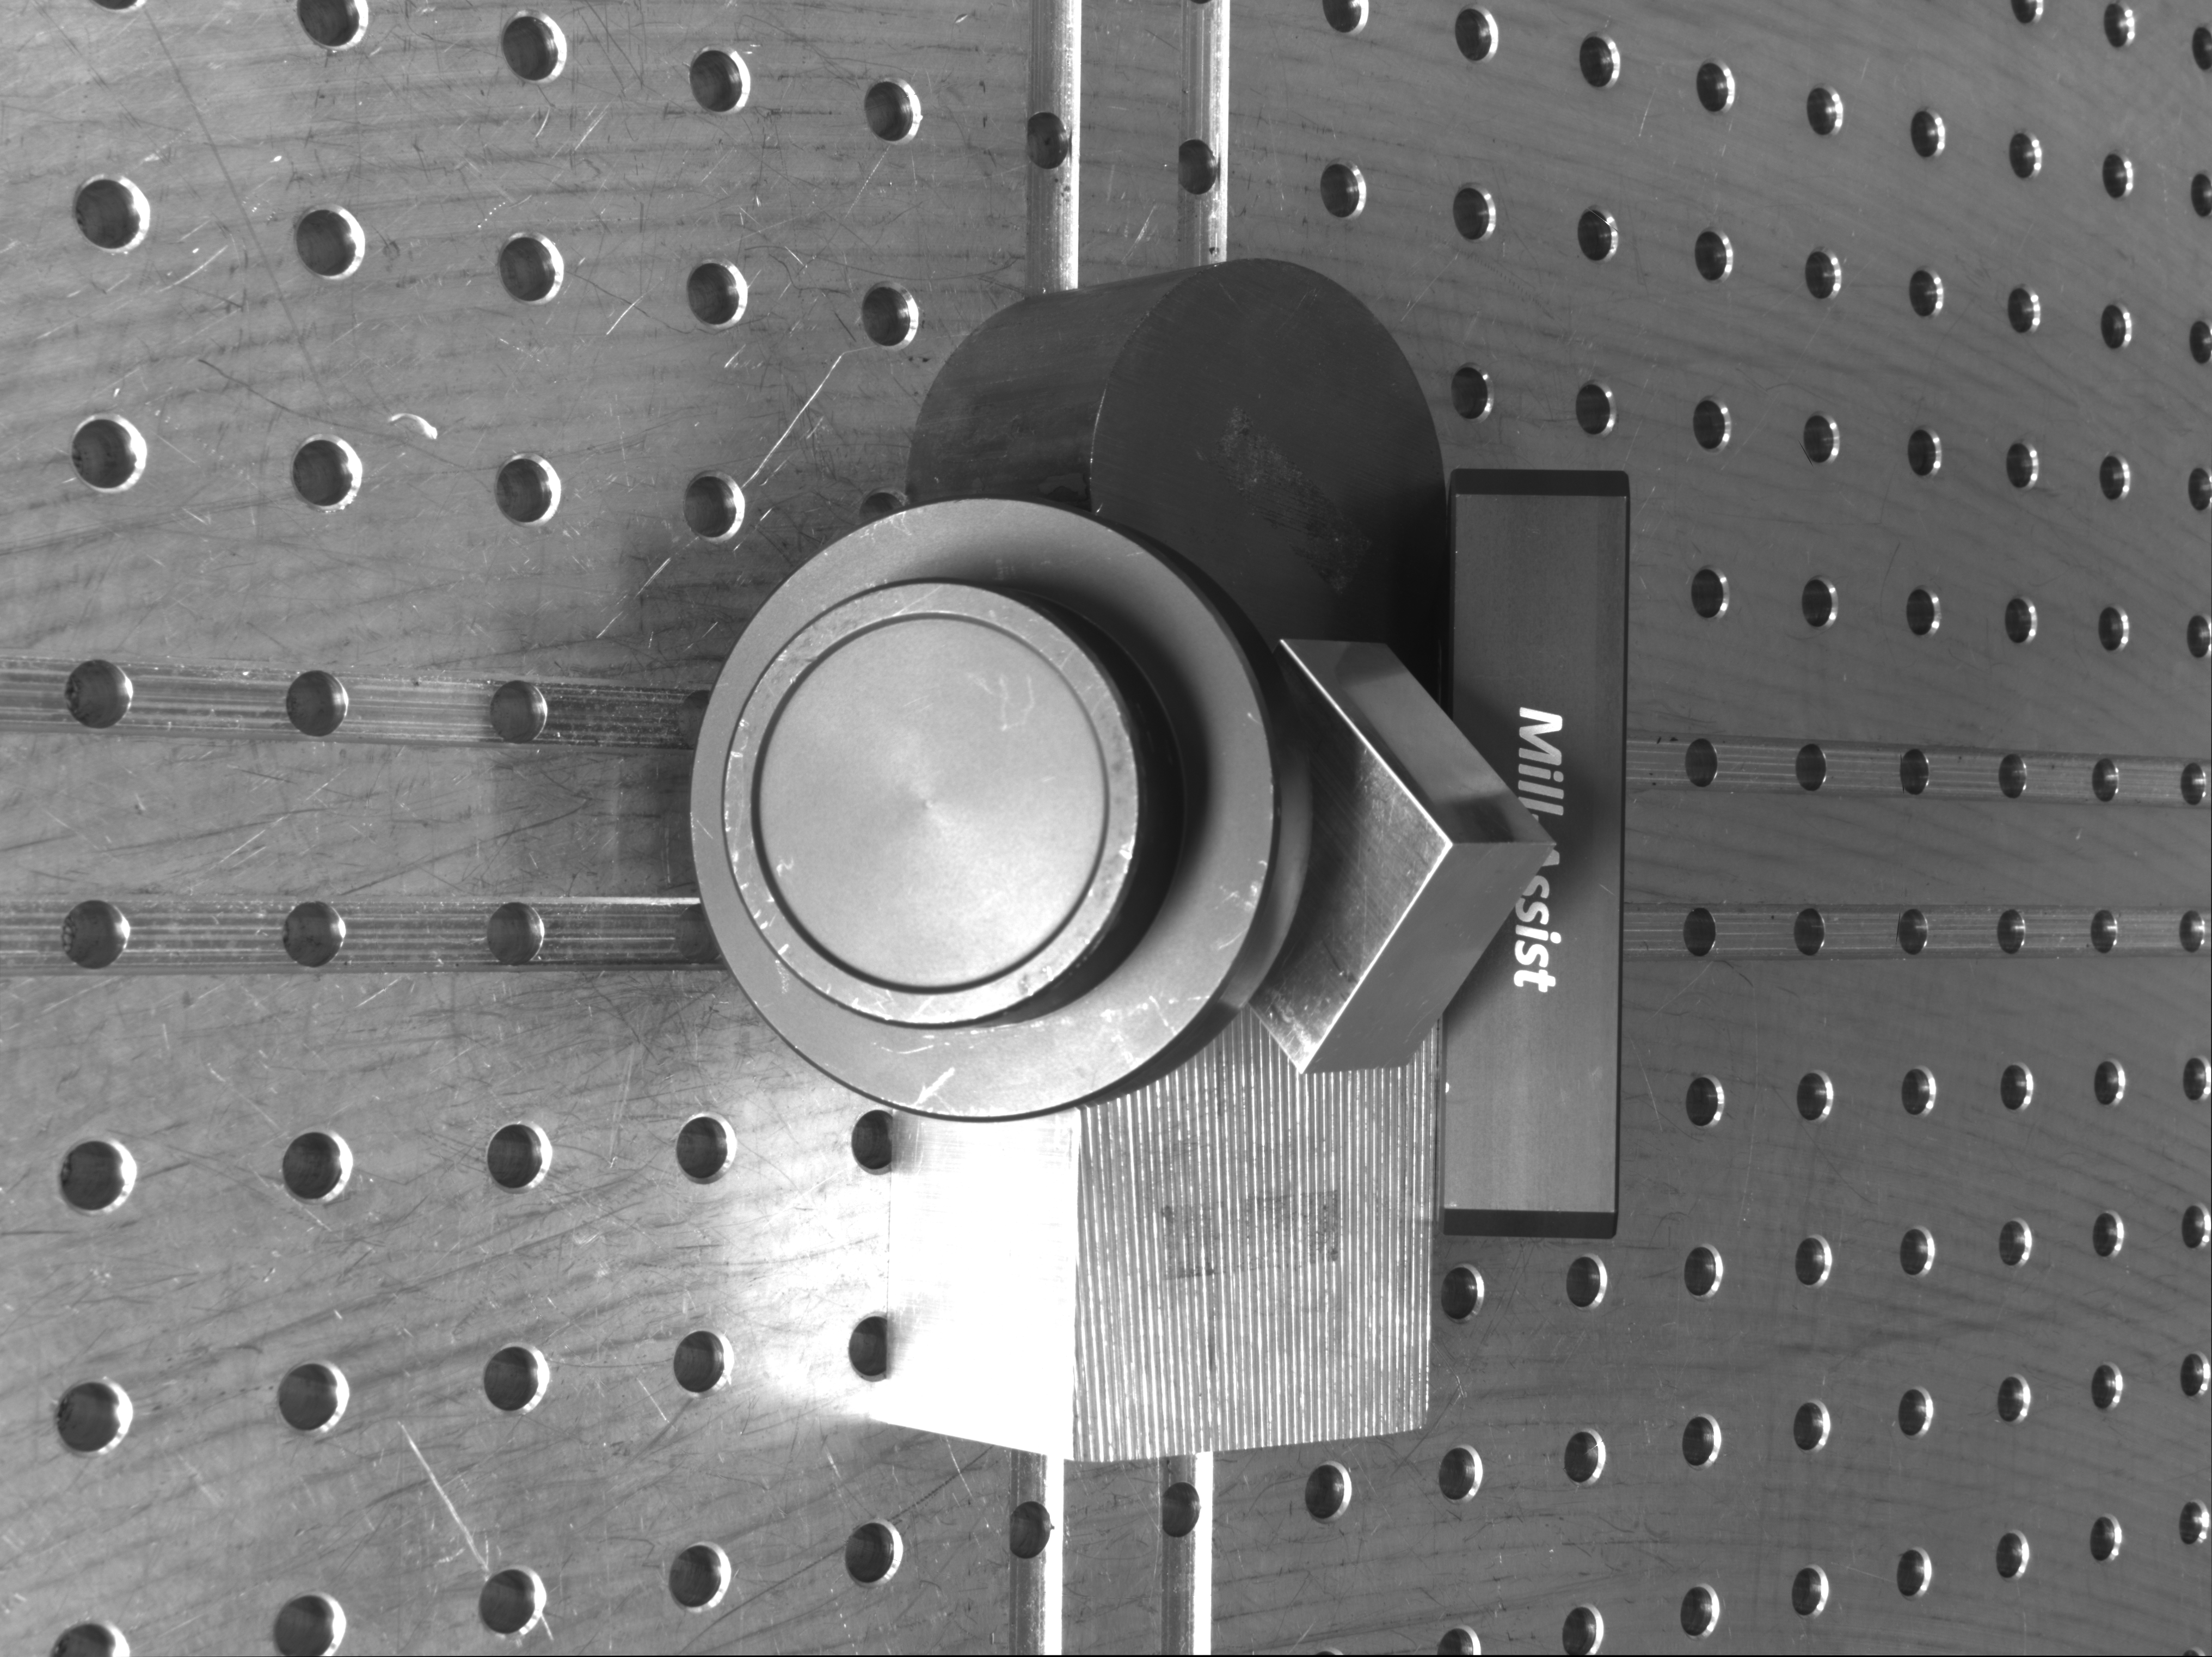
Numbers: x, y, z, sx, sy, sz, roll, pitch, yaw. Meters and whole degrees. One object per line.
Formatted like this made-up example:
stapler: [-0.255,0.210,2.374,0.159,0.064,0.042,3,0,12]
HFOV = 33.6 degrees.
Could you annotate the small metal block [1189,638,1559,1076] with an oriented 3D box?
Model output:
small metal block: [0.039,0.005,0.600,0.025,0.050,0.050,0,132,-43]

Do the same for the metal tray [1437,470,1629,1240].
metal tray: [0.075,0.005,0.661,0.030,0.090,0.130,1,89,4]

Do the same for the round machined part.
round machined part: [-0.020,-0.003,0.569,0.042,0.098,0.098,5,86,-73]

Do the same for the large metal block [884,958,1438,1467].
large metal block: [0.010,0.063,0.631,0.080,0.050,0.080,3,88,-40]

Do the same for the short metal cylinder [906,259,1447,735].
short metal cylinder: [0.013,-0.055,0.632,0.080,0.050,0.080,0,90,-40]
